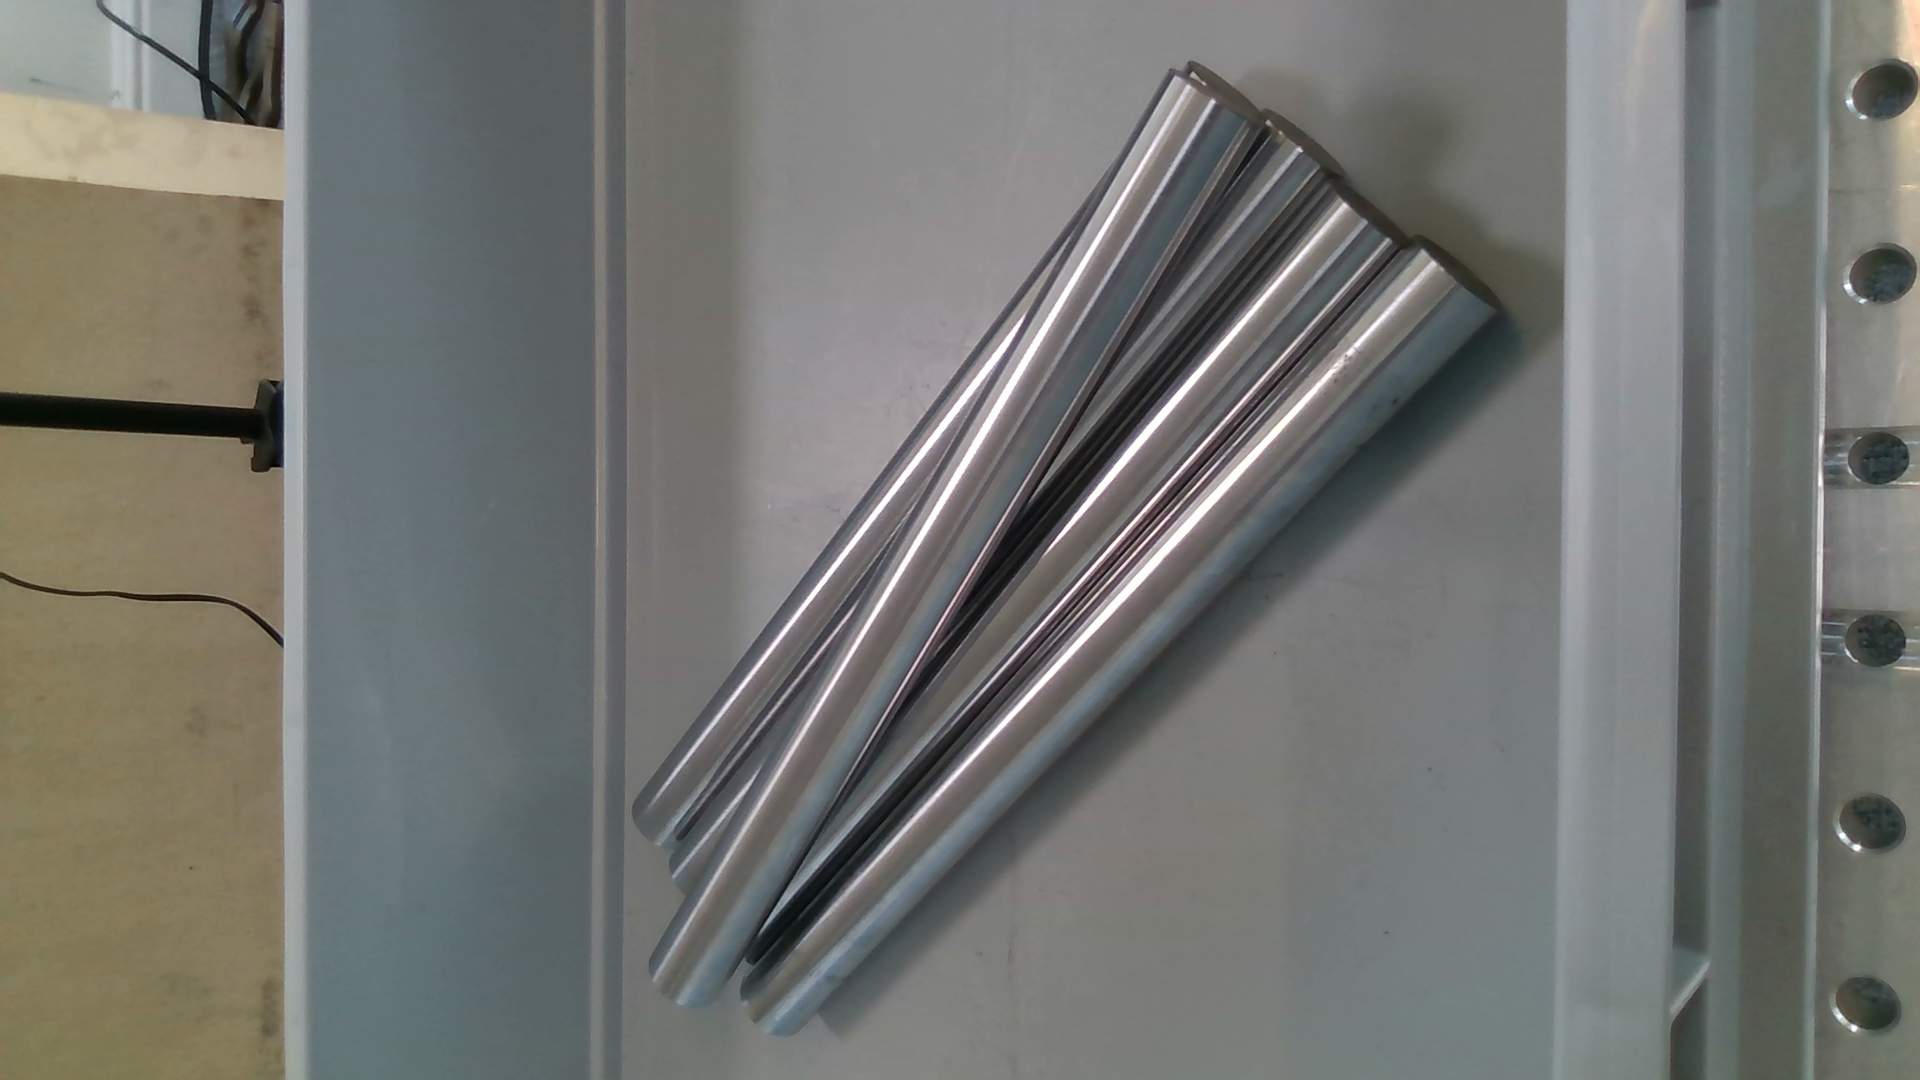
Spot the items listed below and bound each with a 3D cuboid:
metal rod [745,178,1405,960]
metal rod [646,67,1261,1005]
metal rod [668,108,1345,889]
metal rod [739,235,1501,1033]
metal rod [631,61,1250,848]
[{"bbox_3d":[0.009,0.028,0.383,0.301,0.025,0.025,-51,60,28],"label":"metal rod"},{"bbox_3d":[-0.015,0.018,0.369,0.025,0.025,0.301,46,118,30],"label":"metal rod"},{"bbox_3d":[-0.004,0.009,0.393,0.301,0.025,0.025,-51,60,28],"label":"metal rod"},{"bbox_3d":[0.024,0.044,0.370,0.301,0.025,0.025,-51,60,28],"label":"metal rod"},{"bbox_3d":[-0.019,-0.006,0.406,0.301,0.025,0.025,-51,60,28],"label":"metal rod"}]
